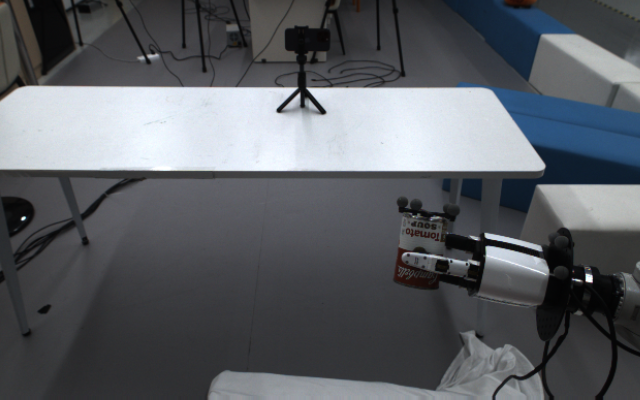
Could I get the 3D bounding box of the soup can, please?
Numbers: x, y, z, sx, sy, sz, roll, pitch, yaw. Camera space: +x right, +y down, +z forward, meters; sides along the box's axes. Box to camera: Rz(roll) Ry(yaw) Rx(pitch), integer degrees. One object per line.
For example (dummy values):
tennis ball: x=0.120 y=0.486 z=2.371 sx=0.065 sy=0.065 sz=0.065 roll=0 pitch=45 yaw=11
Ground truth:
soup can: x=0.150 y=0.072 z=0.711 sx=0.067 sy=0.101 sz=0.067 roll=7 pitch=4 yaw=0
